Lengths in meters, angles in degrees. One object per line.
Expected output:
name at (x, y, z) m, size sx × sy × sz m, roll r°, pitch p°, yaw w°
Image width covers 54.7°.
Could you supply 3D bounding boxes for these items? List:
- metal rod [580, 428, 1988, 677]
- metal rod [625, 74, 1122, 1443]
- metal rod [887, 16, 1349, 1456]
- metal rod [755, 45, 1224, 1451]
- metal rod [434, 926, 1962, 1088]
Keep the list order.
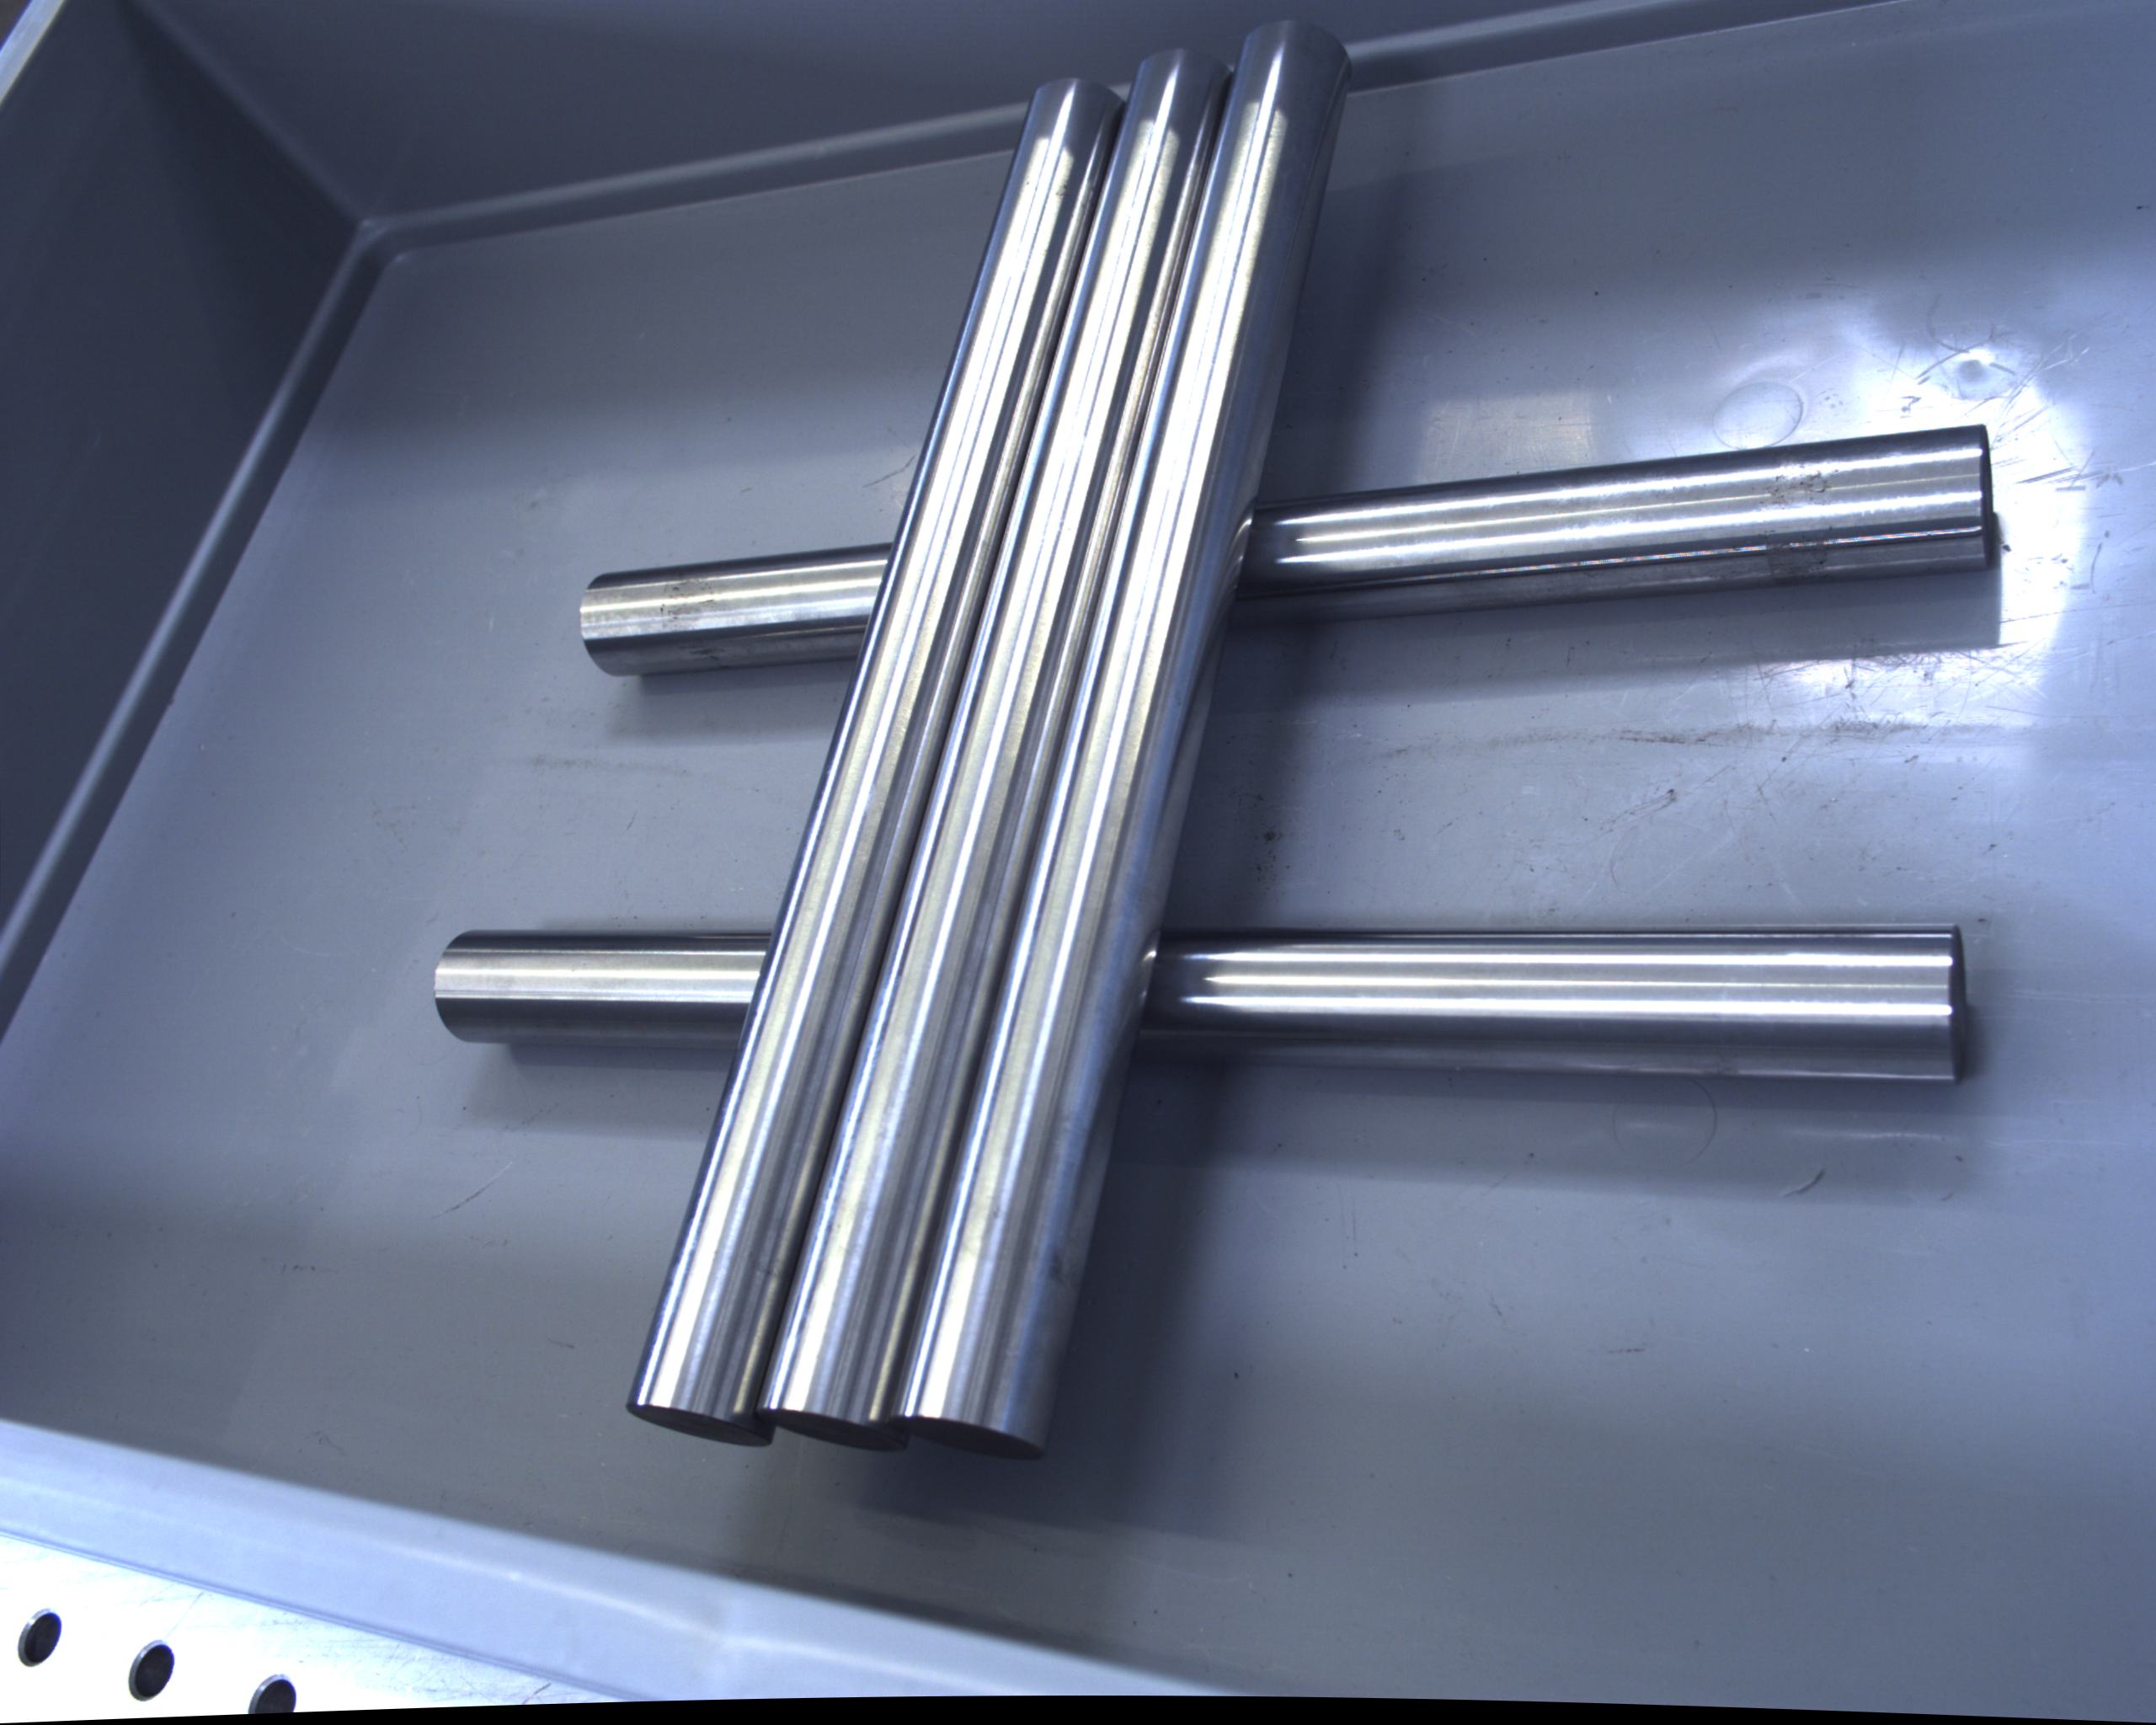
metal rod at (0.023, -0.060, 0.429) m, size 0.300 × 0.025 × 0.025 m, roll -1°, pitch 61°, yaw 27°
metal rod at (-0.031, -0.038, 0.411) m, size 0.025 × 0.025 × 0.300 m, roll -1°, pitch 61°, yaw 28°
metal rod at (0.014, -0.042, 0.389) m, size 0.025 × 0.025 × 0.300 m, roll -1°, pitch 61°, yaw 28°
metal rod at (-0.008, -0.040, 0.400) m, size 0.025 × 0.025 × 0.300 m, roll -1°, pitch 61°, yaw 28°
metal rod at (0.002, 0.025, 0.389) m, size 0.300 × 0.025 × 0.025 m, roll -1°, pitch 61°, yaw 27°
